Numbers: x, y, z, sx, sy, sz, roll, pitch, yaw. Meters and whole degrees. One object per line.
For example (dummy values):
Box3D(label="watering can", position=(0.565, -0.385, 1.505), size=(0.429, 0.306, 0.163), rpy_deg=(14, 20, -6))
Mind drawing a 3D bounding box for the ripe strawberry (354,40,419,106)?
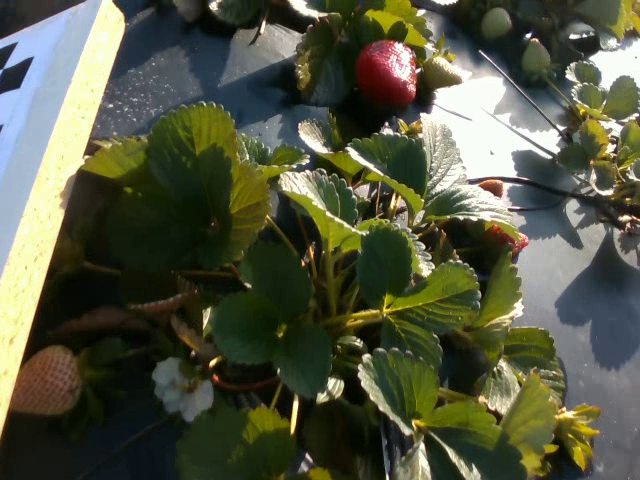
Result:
Box3D(label="ripe strawberry", position=(0.050, -0.117, 0.413), size=(0.056, 0.072, 0.055), rpy_deg=(-32, -48, 10))
